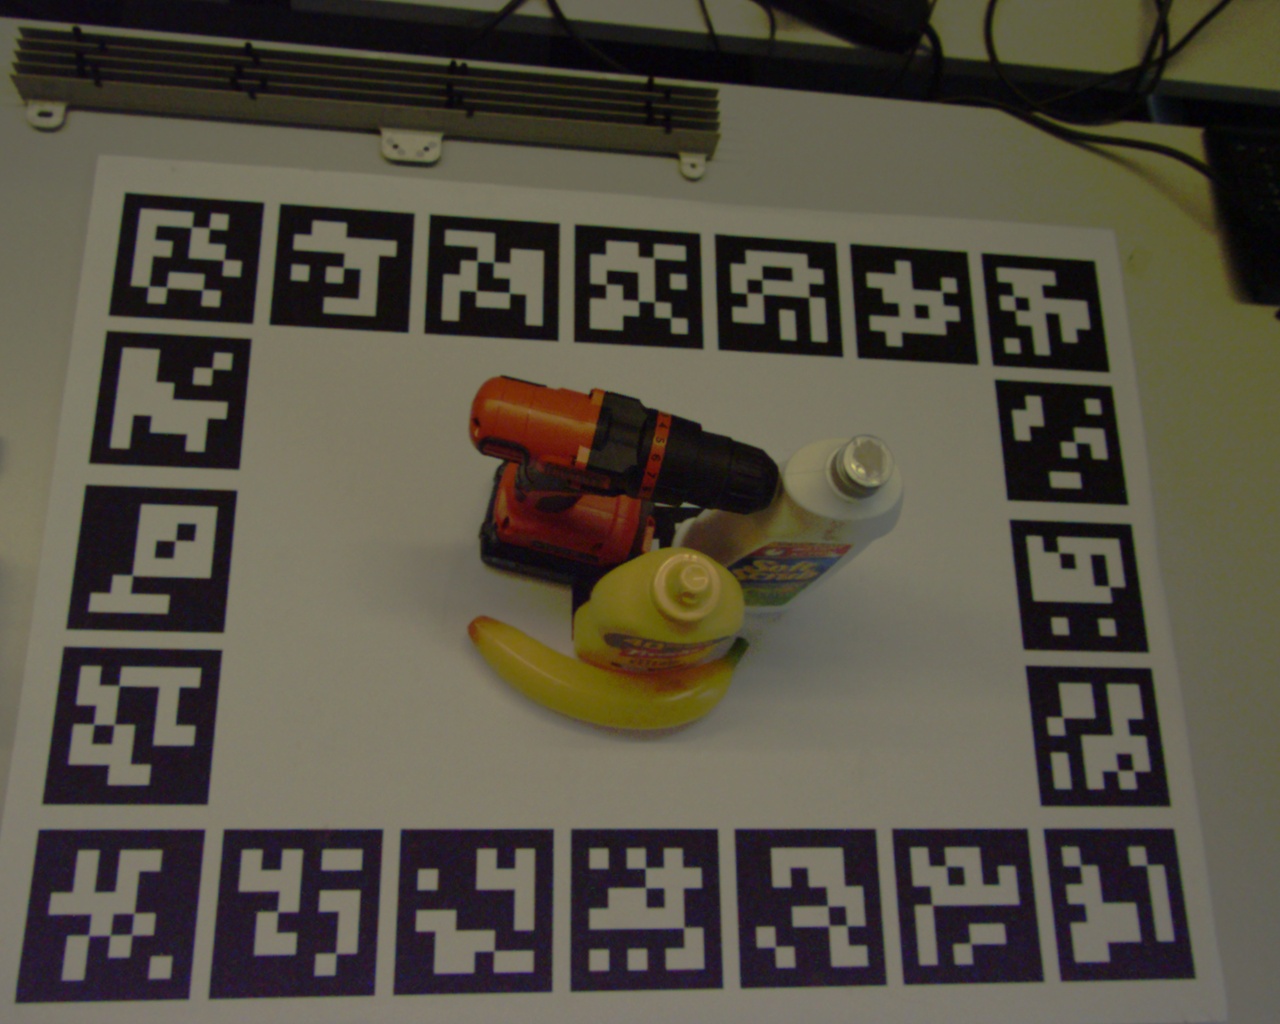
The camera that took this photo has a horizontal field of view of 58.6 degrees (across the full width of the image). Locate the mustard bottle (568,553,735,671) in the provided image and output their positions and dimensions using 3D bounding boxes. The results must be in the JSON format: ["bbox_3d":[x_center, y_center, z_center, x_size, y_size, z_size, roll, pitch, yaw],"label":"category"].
[{"bbox_3d":[0.011,0.066,0.749,0.096,0.192,0.058,3,75,-10],"label":"mustard bottle"}]

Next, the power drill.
[{"bbox_3d":[-0.025,-0.010,0.743,0.184,0.187,0.057,15,72,-7],"label":"power drill"}]

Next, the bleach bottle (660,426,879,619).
[{"bbox_3d":[0.084,0.007,0.751,0.102,0.251,0.068,5,69,-8],"label":"bleach bottle"}]

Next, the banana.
[{"bbox_3d":[-0.024,0.115,0.820,0.197,0.039,0.074,7,75,-4],"label":"banana"}]
